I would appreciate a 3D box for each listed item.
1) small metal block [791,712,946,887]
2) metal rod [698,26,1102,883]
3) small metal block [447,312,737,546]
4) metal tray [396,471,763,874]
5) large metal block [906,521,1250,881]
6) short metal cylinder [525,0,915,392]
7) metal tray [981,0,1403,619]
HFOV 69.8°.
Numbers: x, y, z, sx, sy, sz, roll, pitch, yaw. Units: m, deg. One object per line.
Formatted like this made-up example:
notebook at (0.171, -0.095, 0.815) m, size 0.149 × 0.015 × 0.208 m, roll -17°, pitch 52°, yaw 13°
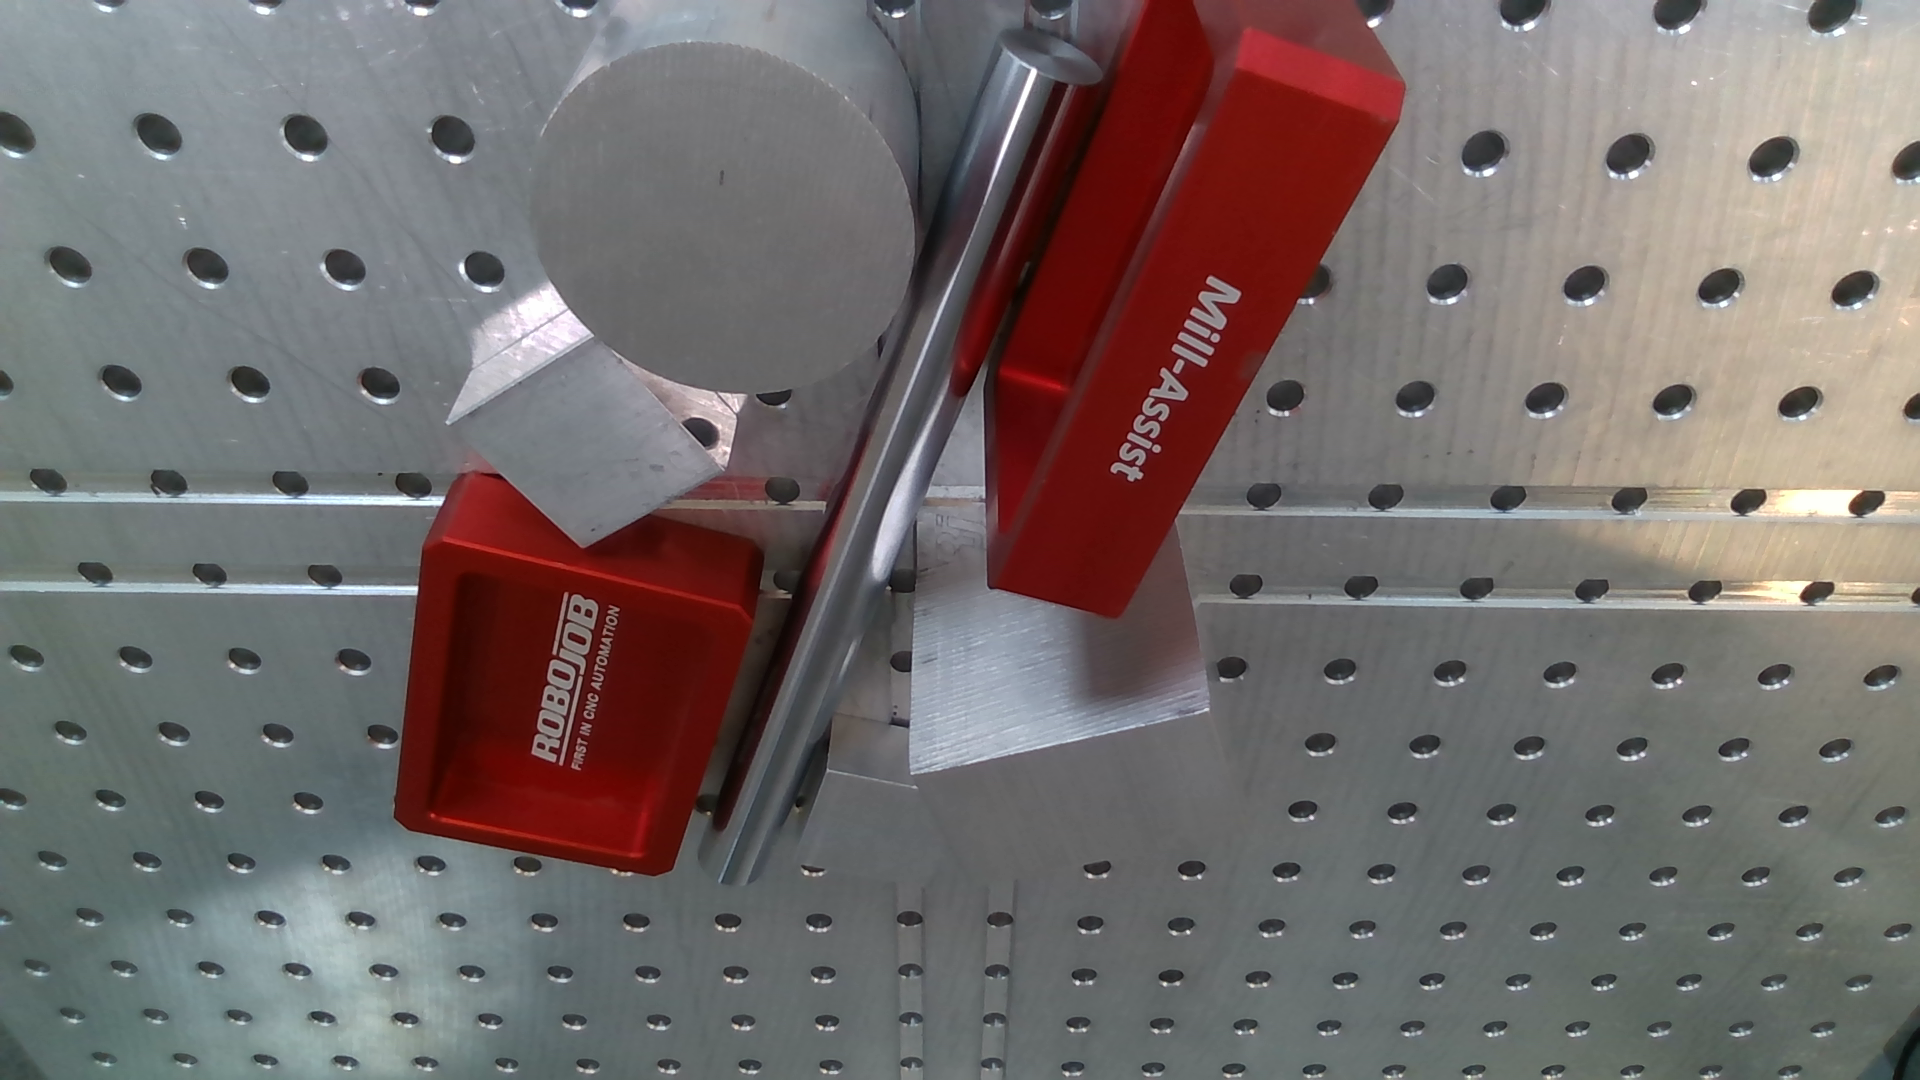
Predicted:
small metal block at (-0.026, 0.088, 0.466) m, size 0.050 × 0.025 × 0.050 m, roll 13°, pitch 129°, yaw -11°
metal rod at (-0.030, 0.002, 0.393) m, size 0.025 × 0.025 × 0.301 m, roll 15°, pitch 129°, yaw -12°
small metal block at (-0.096, -0.033, 0.365) m, size 0.050 × 0.025 × 0.050 m, roll -26°, pitch 125°, yaw 20°
metal tray at (-0.121, 0.047, 0.427) m, size 0.090 × 0.030 × 0.130 m, roll 14°, pitch 129°, yaw -11°
large metal block at (0.032, 0.042, 0.393) m, size 0.080 × 0.080 × 0.050 m, roll -14°, pitch 129°, yaw 12°
short metal cylinder at (-0.050, -0.080, 0.307) m, size 0.080 × 0.050 × 0.080 m, roll 0°, pitch 130°, yaw 0°
metal tray at (0.040, -0.058, 0.299) m, size 0.030 × 0.090 × 0.130 m, roll 15°, pitch 129°, yaw -12°
